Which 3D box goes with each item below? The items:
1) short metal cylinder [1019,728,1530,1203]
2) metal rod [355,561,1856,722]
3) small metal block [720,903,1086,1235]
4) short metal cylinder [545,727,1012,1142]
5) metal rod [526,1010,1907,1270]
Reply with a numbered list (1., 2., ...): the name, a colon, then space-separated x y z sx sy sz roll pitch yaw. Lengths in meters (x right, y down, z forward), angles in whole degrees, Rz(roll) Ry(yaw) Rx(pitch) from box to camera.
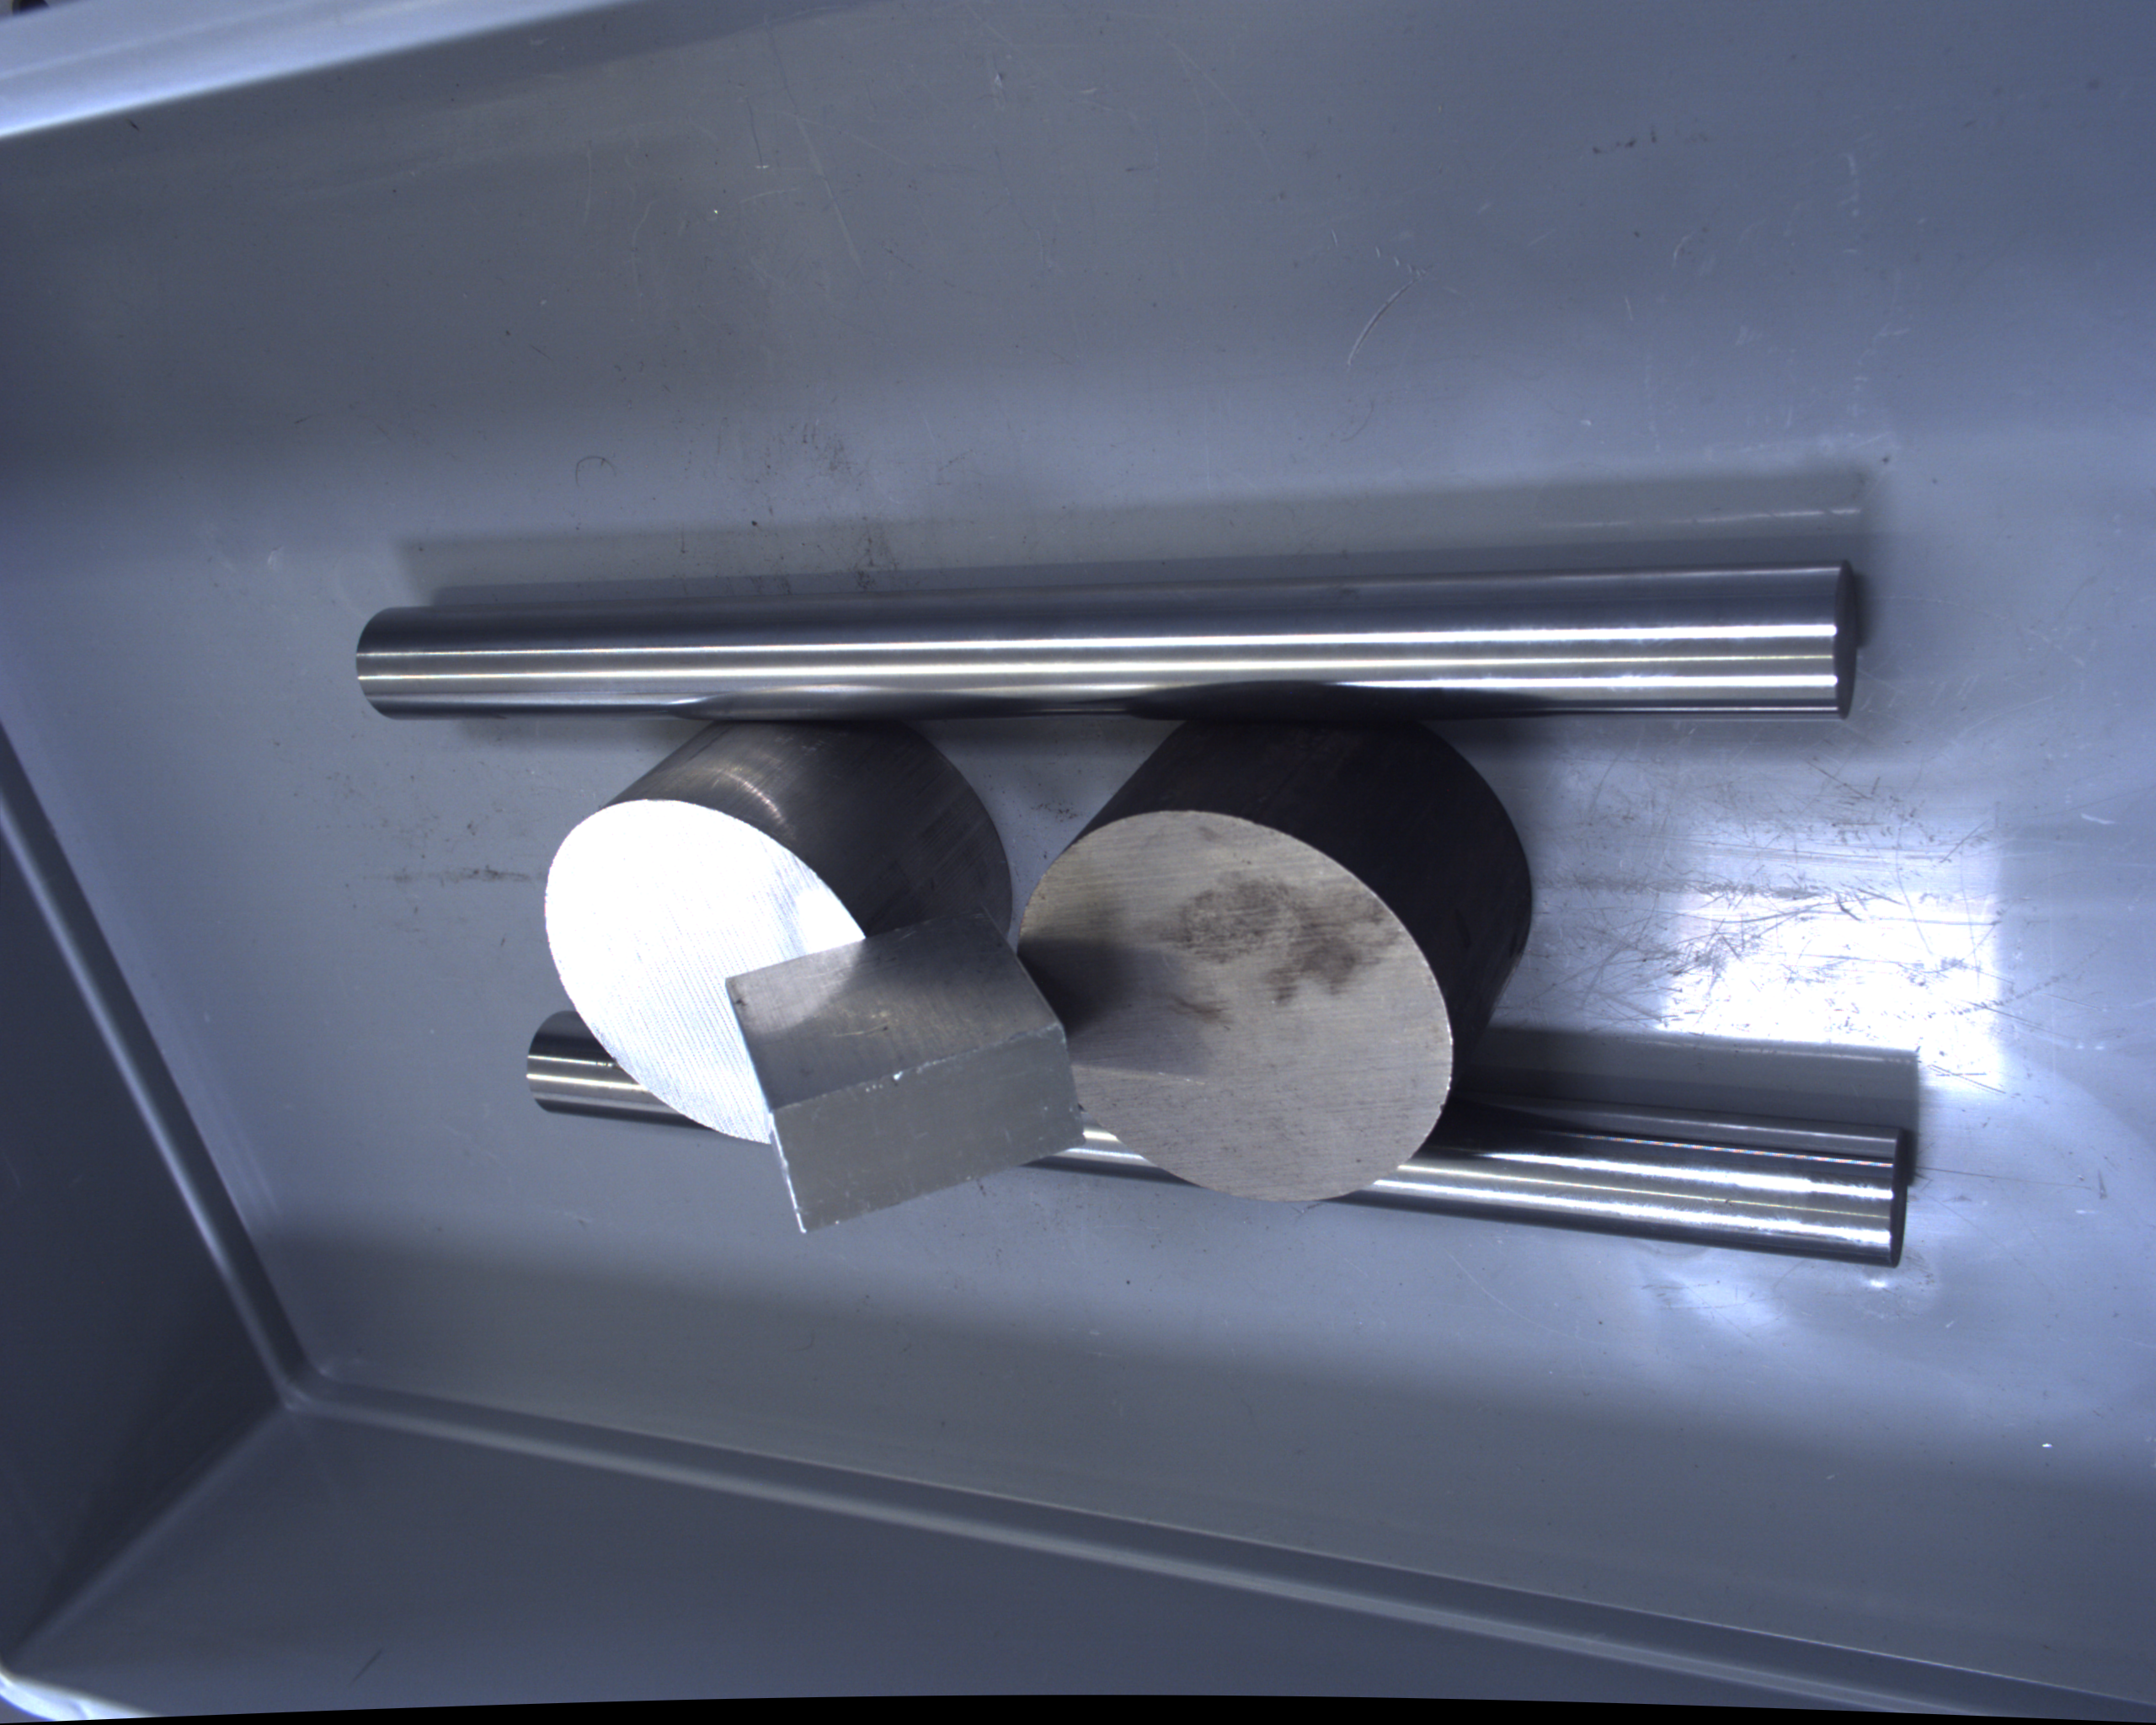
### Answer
1. short metal cylinder: 0.036 0.015 0.381 0.080 0.050 0.079 13 124 21
2. metal rod: -0.015 -0.039 0.390 0.301 0.025 0.025 2 119 27
3. small metal block: -0.032 0.035 0.369 0.050 0.050 0.025 -16 116 -12
4. short metal cylinder: -0.061 0.011 0.429 0.080 0.050 0.079 13 124 21
5. metal rod: 0.010 0.053 0.434 0.301 0.025 0.025 2 120 27
